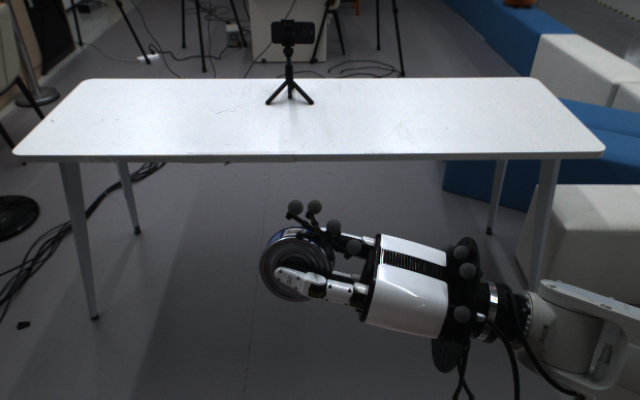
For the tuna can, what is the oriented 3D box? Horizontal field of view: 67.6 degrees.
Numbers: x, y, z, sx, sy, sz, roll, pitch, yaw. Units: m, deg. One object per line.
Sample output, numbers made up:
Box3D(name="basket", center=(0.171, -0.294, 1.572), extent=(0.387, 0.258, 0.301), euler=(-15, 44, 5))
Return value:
Box3D(name="tuna can", center=(-0.023, 0.082, 0.563), extent=(0.085, 0.085, 0.034), euler=(7, 19, 7))
